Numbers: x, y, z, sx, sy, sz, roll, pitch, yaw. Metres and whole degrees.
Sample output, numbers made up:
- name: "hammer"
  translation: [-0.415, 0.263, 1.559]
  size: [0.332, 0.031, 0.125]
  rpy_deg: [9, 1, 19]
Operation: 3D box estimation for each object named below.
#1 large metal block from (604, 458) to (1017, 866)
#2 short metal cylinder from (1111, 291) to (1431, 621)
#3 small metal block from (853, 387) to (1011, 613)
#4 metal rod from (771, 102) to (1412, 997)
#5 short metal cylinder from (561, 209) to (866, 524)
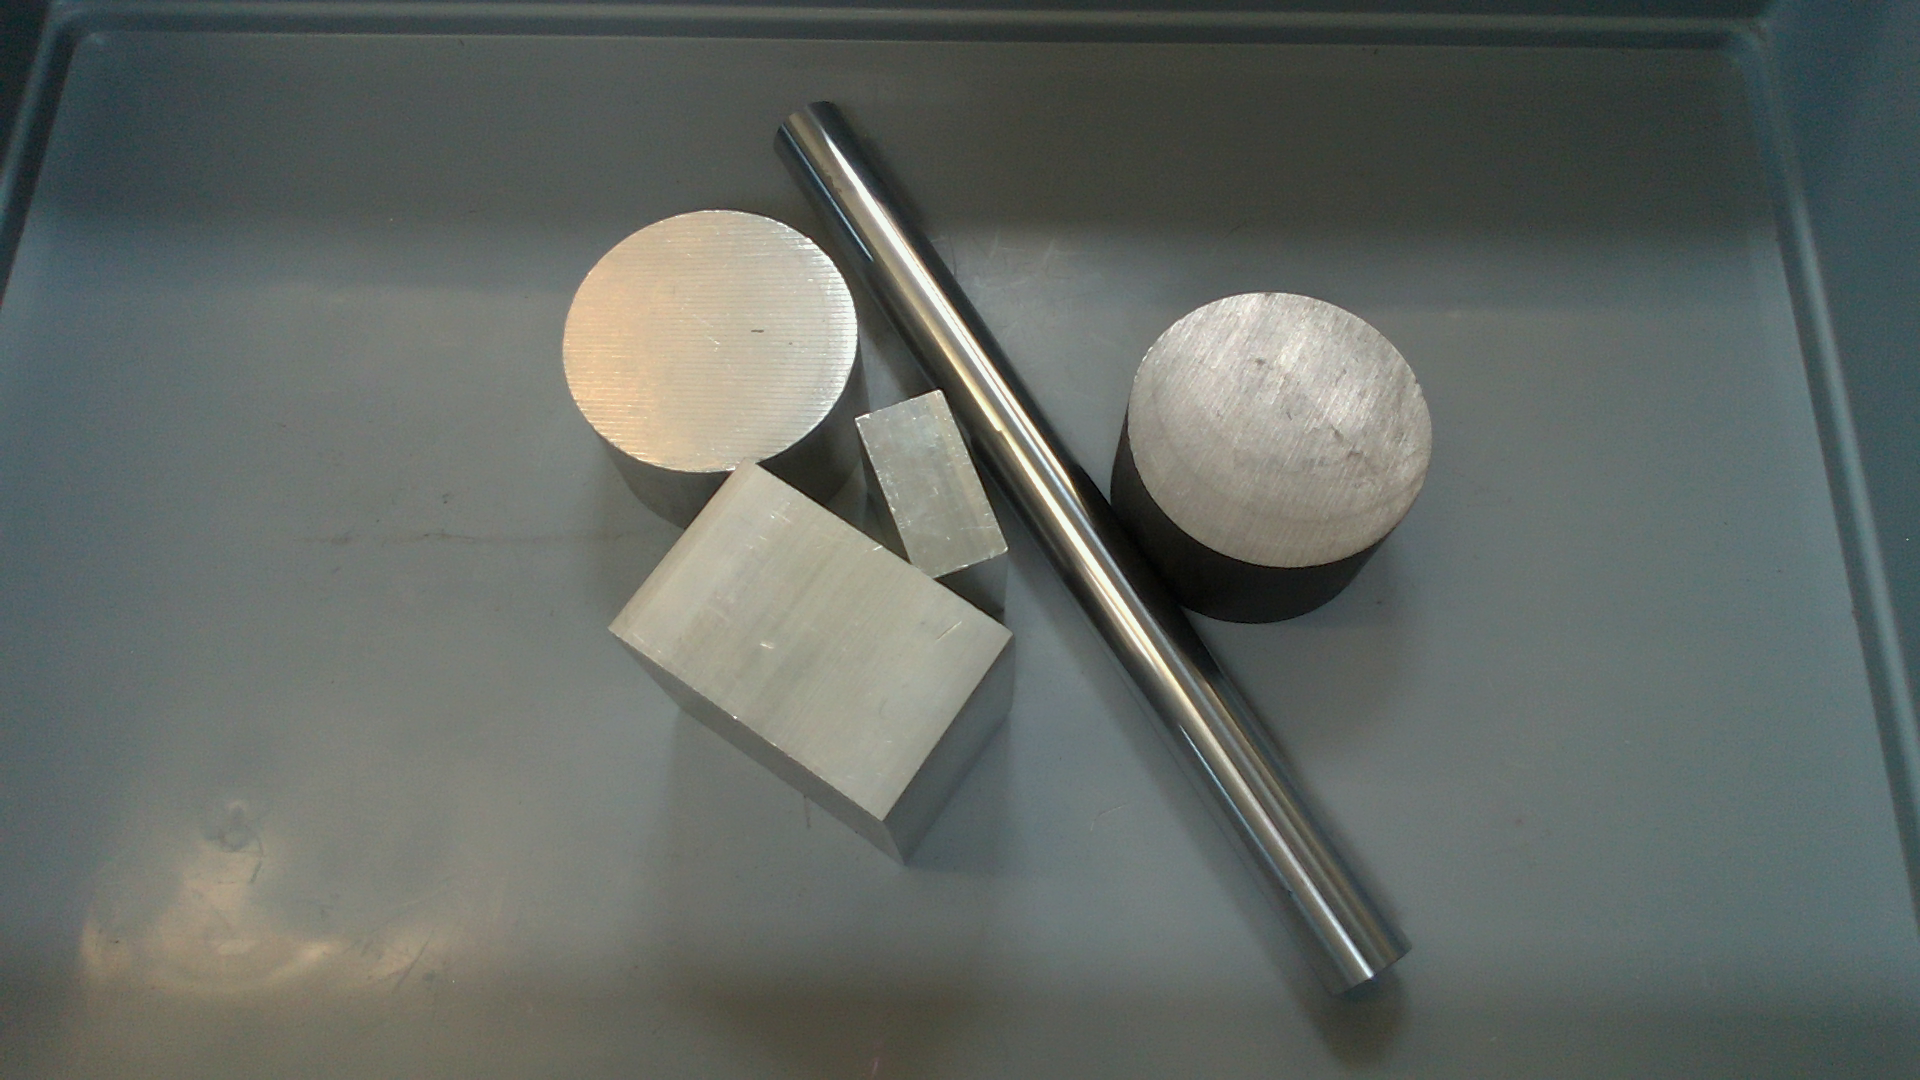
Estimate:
- name: "large metal block"
  translation: [-0.033, 0.034, 0.350]
  size: [0.080, 0.080, 0.050]
  rpy_deg: [32, 74, 12]
- name: "short metal cylinder"
  translation: [0.085, -0.022, 0.388]
  size: [0.080, 0.050, 0.080]
  rpy_deg: [0, 70, 0]
- name: "small metal block"
  translation: [-0.007, -0.006, 0.382]
  size: [0.025, 0.050, 0.050]
  rpy_deg: [-20, 71, -7]
- name: "metal rod"
  translation: [0.028, -0.010, 0.397]
  size: [0.025, 0.025, 0.300]
  rpy_deg: [-30, 73, -10]
- name: "short metal cylinder"
  translation: [-0.068, -0.047, 0.397]
  size: [0.080, 0.050, 0.080]
  rpy_deg: [0, 70, 0]
